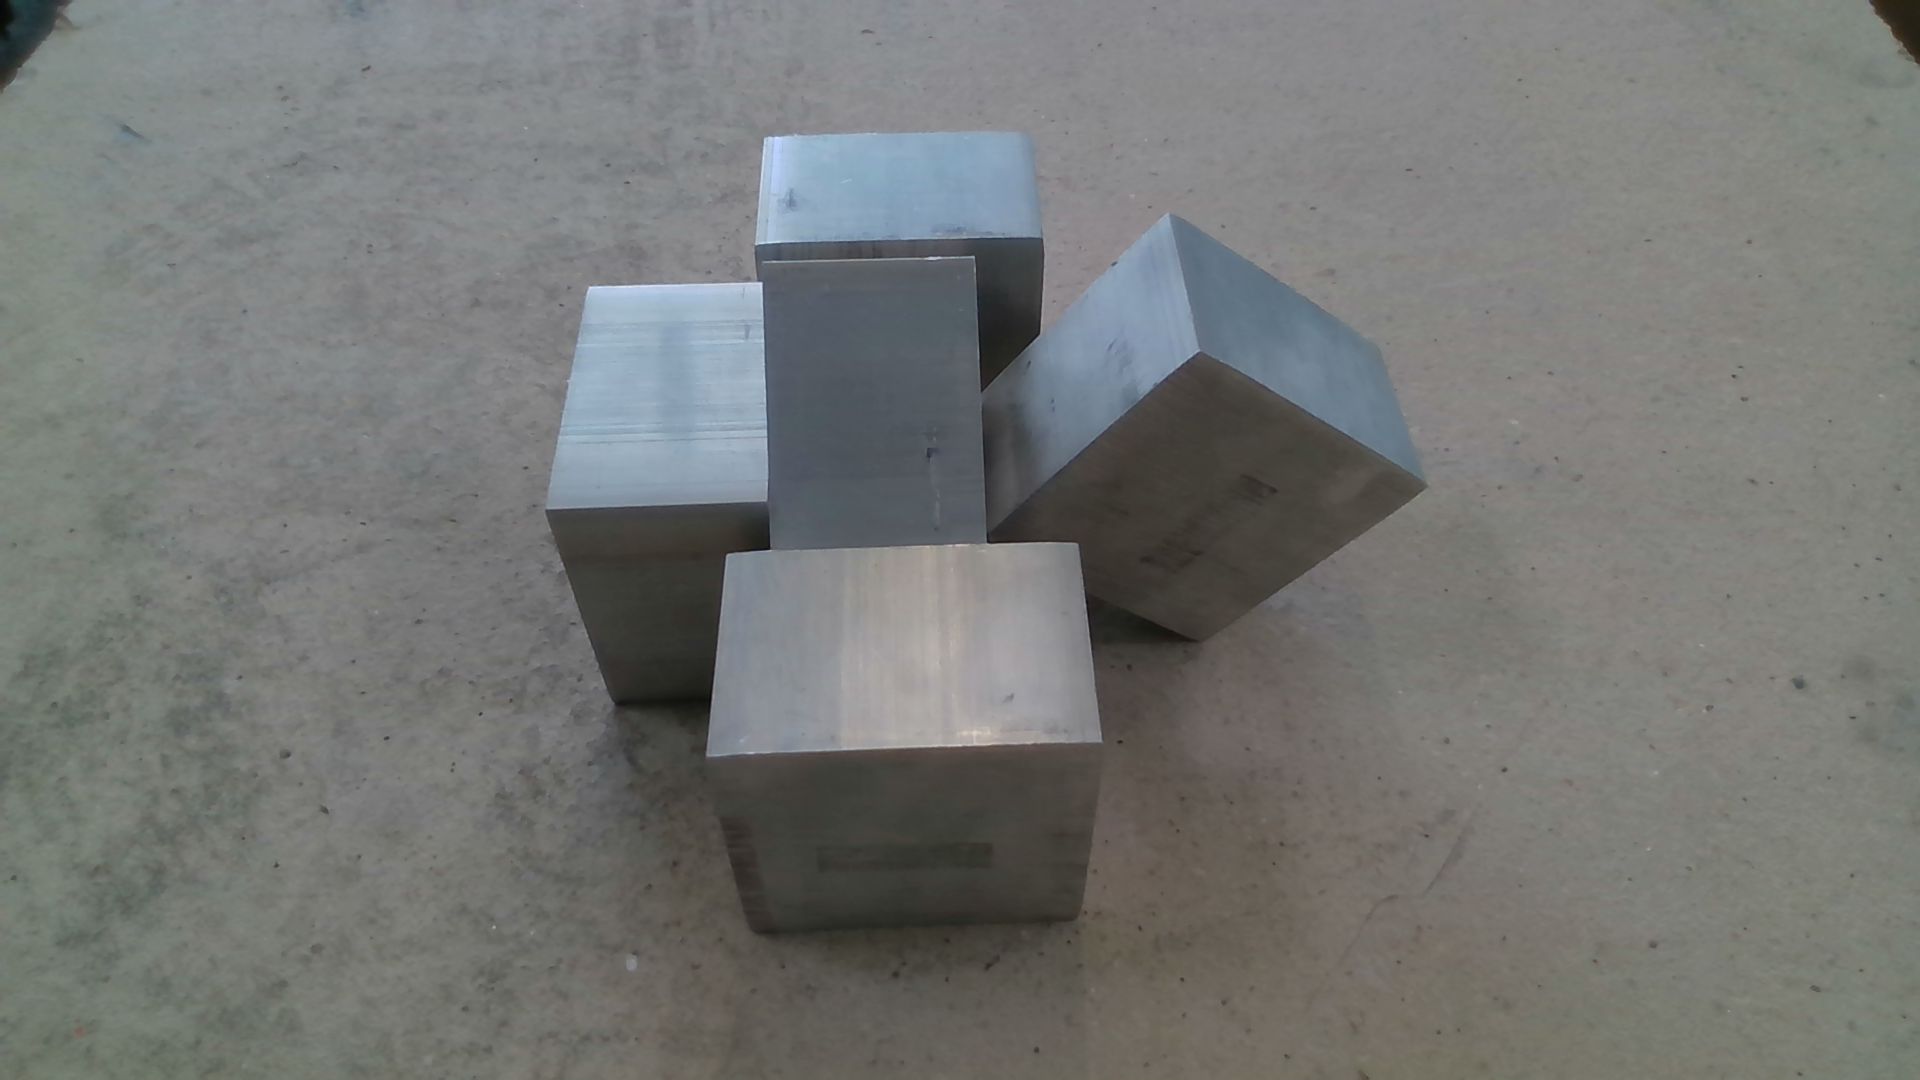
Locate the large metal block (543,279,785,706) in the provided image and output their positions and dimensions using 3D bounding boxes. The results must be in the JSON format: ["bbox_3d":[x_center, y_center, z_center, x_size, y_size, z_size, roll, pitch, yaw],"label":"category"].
[{"bbox_3d":[-0.071,-0.012,0.369,0.050,0.080,0.080,-2,50,-2],"label":"large metal block"}]

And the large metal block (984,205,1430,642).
[{"bbox_3d":[0.059,-0.026,0.360,0.080,0.080,0.050,24,43,-29],"label":"large metal block"}]

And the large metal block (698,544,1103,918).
[{"bbox_3d":[-0.013,0.046,0.319,0.080,0.080,0.050,-1,51,-2],"label":"large metal block"}]

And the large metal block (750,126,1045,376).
[{"bbox_3d":[-0.018,-0.077,0.421,0.080,0.080,0.050,-1,51,-1],"label":"large metal block"}]

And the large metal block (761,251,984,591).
[{"bbox_3d":[-0.022,-0.024,0.359,0.050,0.080,0.080,-1,85,-2],"label":"large metal block"}]
